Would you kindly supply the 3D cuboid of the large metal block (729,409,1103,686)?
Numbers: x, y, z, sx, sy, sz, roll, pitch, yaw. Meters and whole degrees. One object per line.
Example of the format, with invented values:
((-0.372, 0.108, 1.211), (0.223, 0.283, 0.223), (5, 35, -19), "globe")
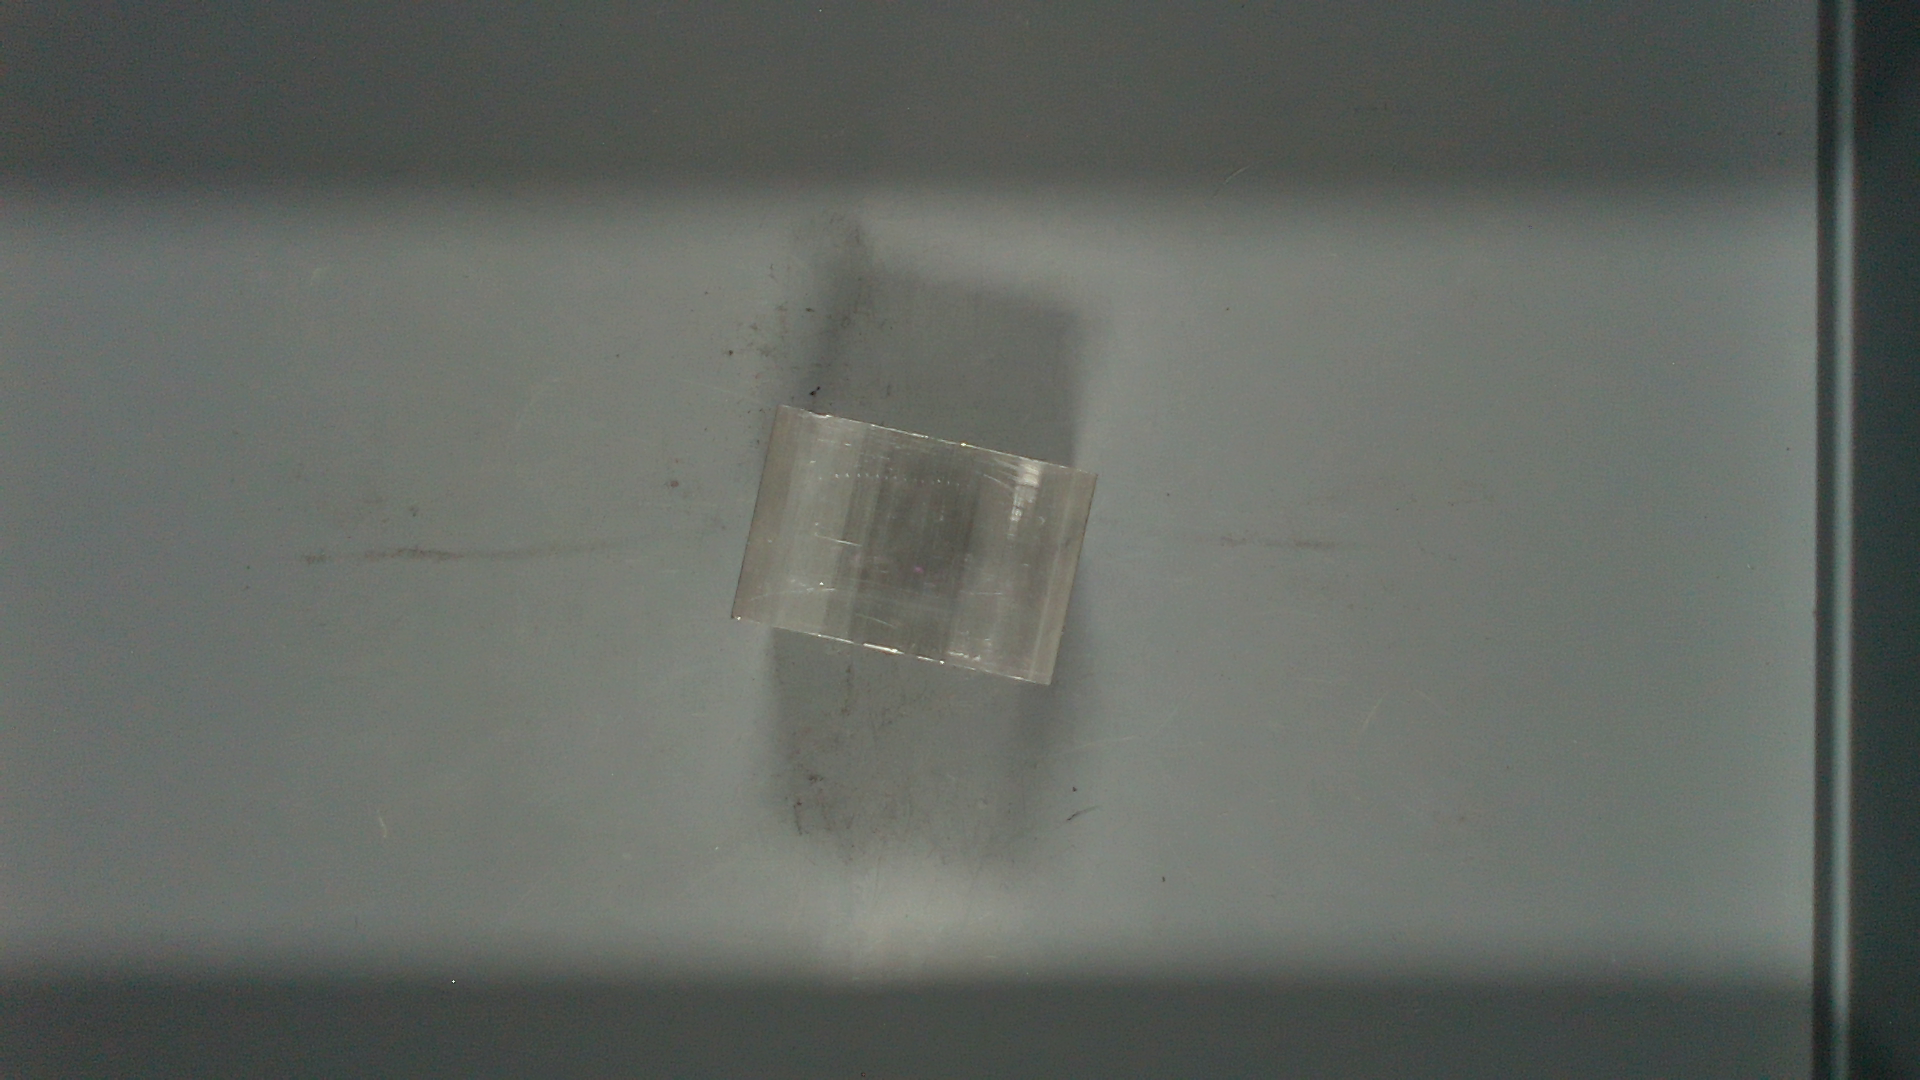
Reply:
((-0.010, 0.002, 0.366), (0.080, 0.080, 0.050), (12, 90, 0), "large metal block")
